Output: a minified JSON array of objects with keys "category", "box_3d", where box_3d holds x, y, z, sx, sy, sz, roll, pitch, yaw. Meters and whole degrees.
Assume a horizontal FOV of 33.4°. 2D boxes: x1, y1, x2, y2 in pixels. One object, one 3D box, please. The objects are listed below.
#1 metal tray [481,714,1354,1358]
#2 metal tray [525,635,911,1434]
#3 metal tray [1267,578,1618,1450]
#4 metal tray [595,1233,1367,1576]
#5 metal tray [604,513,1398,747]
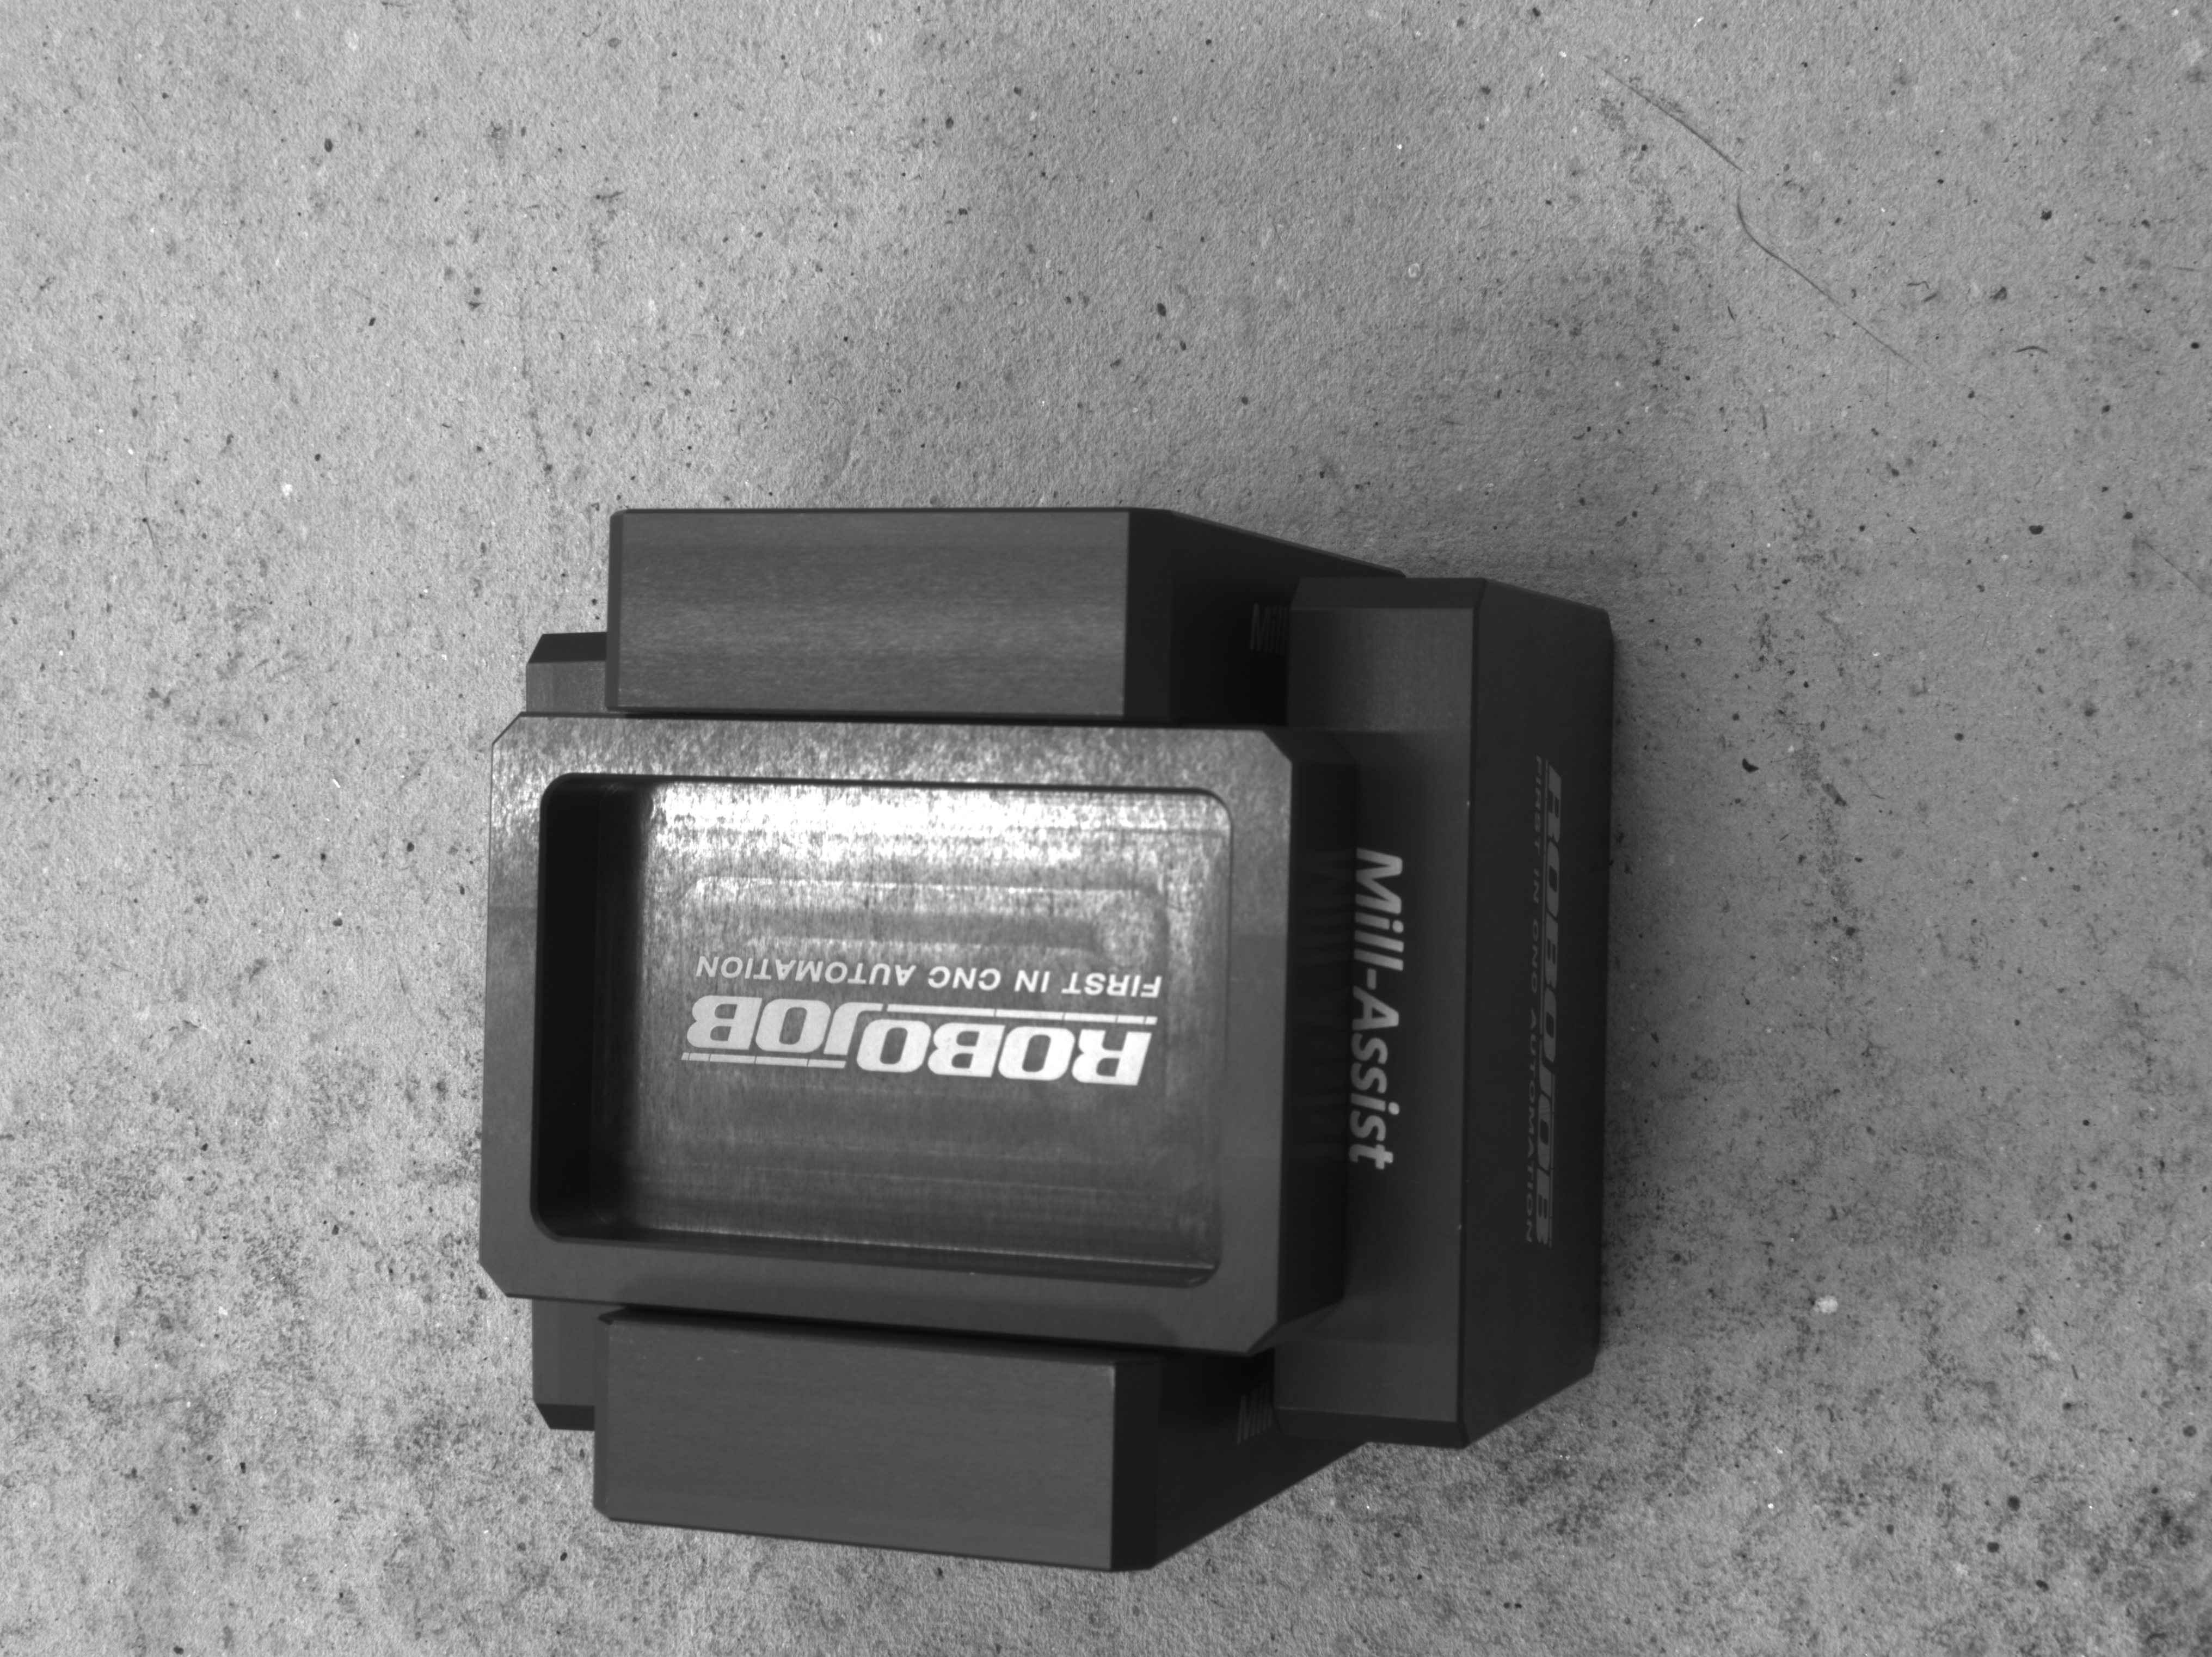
[{"category":"metal tray","box_3d":[-0.030,0.029,0.559,0.130,0.030,0.090,2,91,20]},{"category":"metal tray","box_3d":[-0.065,0.034,0.635,0.030,0.090,0.130,-1,90,20]},{"category":"metal tray","box_3d":[0.056,0.028,0.591,0.030,0.090,0.130,2,89,21]},{"category":"metal tray","box_3d":[-0.014,0.089,0.595,0.090,0.130,0.030,1,91,20]},{"category":"metal tray","box_3d":[-0.012,-0.030,0.594,0.090,0.130,0.030,2,90,20]}]
